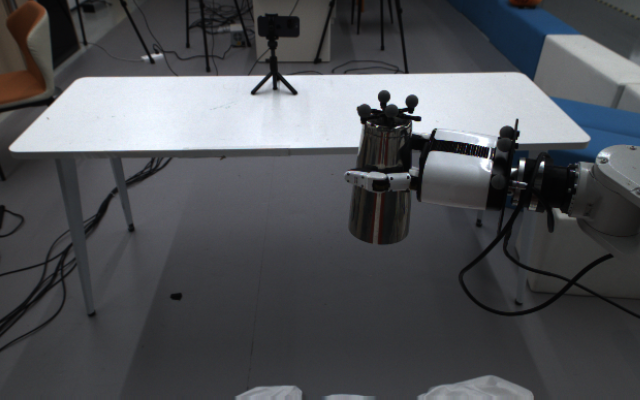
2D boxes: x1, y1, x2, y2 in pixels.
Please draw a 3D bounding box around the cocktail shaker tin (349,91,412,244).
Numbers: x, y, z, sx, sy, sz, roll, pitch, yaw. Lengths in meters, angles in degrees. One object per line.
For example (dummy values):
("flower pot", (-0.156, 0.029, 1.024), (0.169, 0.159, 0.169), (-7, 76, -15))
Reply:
("cocktail shaker tin", (0.091, -0.034, 0.686), (0.093, 0.170, 0.093), (1, 30, 0))
